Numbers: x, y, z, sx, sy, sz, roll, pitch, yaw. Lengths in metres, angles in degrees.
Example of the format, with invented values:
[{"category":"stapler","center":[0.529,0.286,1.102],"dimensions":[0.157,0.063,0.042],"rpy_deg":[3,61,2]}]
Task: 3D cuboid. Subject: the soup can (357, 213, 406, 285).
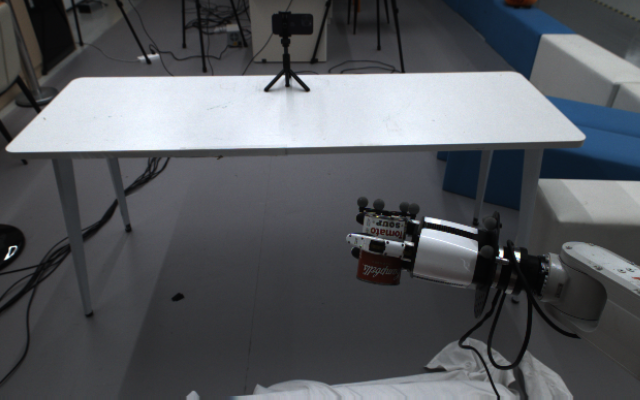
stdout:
[{"category":"soup can","center":[0.096,0.073,0.739],"dimensions":[0.067,0.101,0.067],"rpy_deg":[7,3,0]}]
